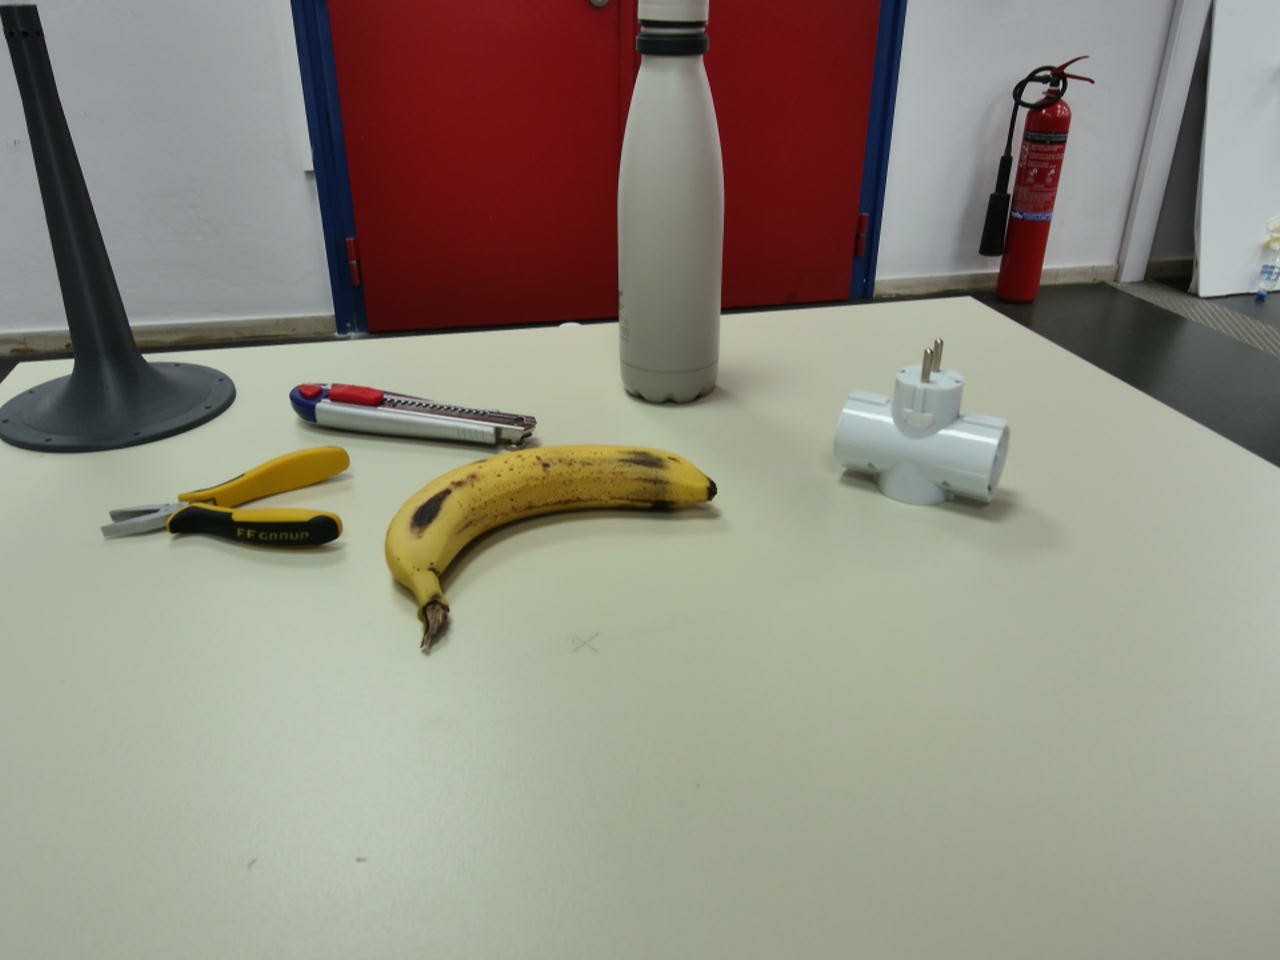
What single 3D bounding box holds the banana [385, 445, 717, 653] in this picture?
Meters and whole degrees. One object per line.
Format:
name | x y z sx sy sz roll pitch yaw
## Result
banana | -0.055 0.016 0.531 0.186 0.038 0.097 -20 32 -36
